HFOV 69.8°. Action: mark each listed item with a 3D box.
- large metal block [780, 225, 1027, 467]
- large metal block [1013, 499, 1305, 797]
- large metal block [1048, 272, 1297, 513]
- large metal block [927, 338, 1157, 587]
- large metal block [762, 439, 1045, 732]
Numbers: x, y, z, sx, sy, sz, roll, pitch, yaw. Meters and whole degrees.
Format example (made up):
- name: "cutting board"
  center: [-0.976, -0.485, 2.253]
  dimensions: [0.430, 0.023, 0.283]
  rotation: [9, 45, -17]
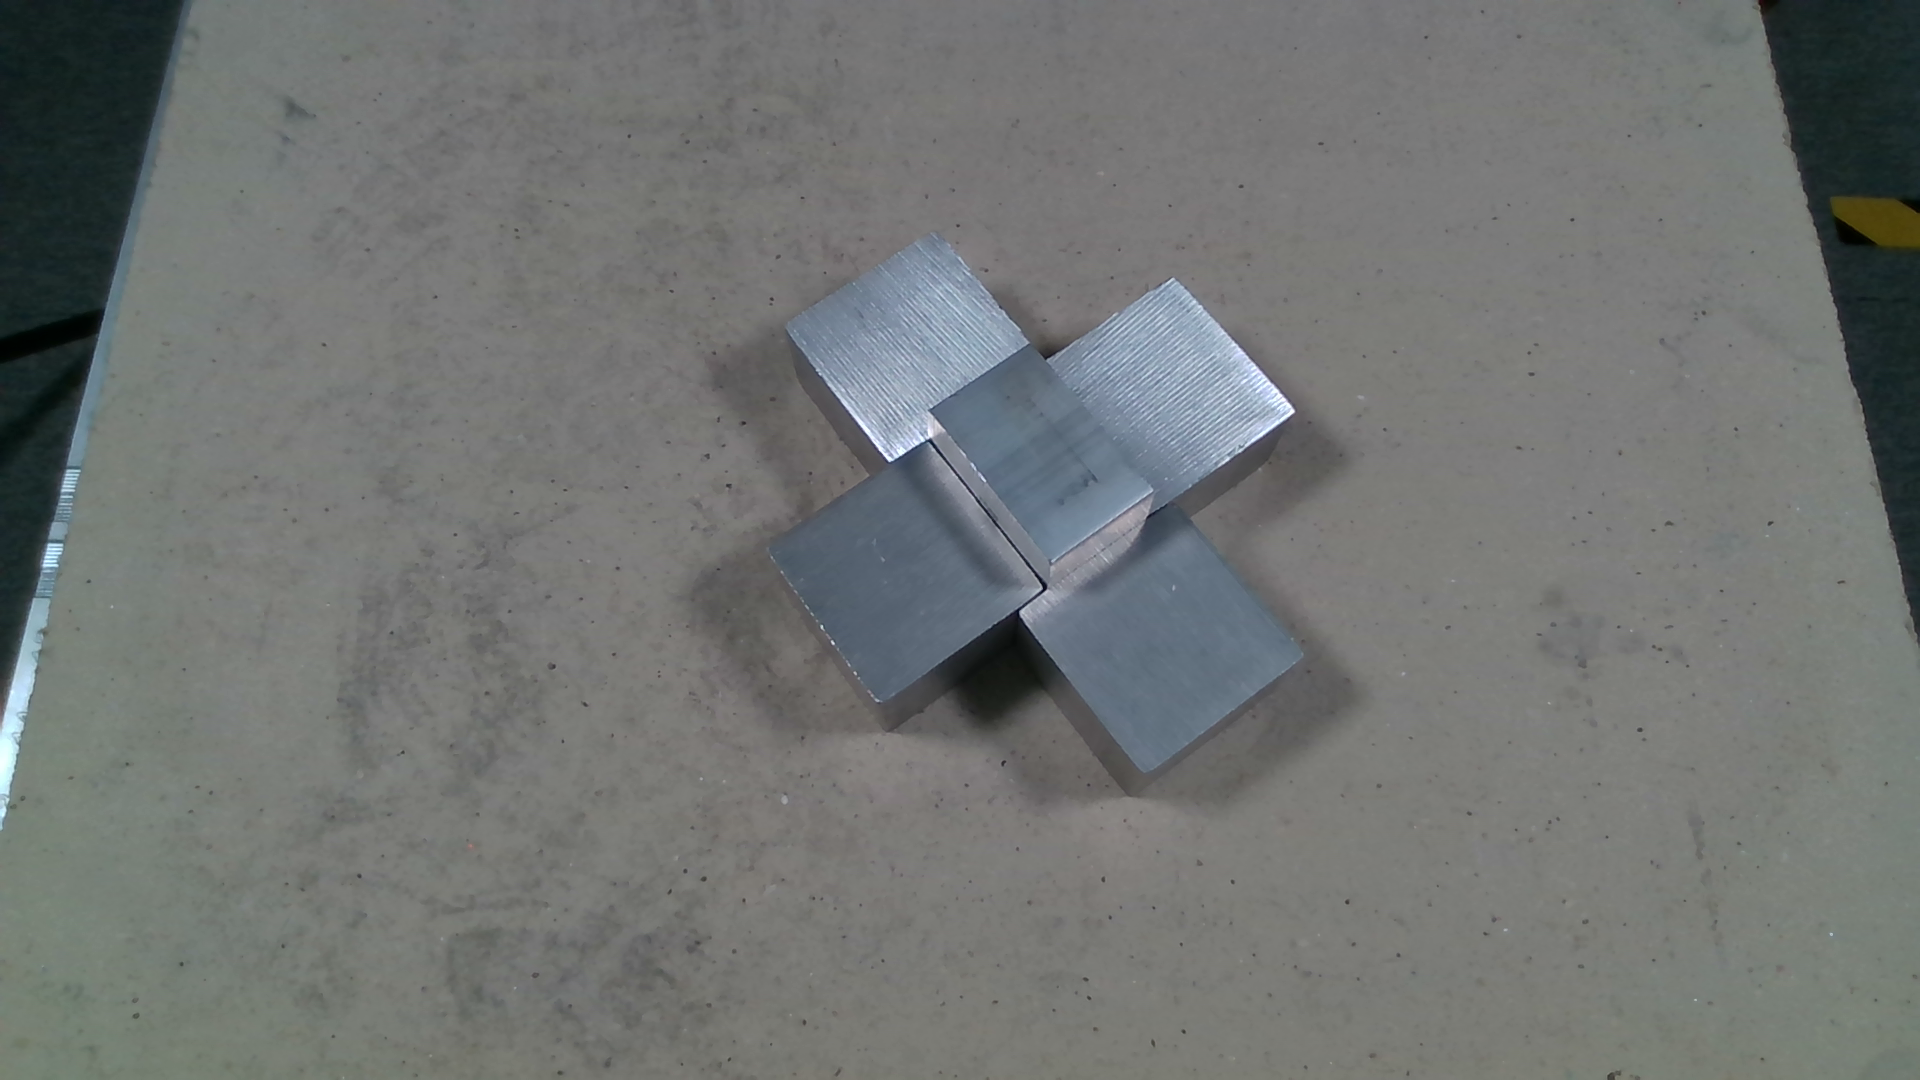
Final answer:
- name: "large metal block"
  center: [-0.020, -0.076, 0.601]
  dimensions: [0.080, 0.050, 0.080]
  rotation: [-35, 74, -12]
- name: "large metal block"
  center: [0.077, 0.044, 0.558]
  dimensions: [0.080, 0.050, 0.080]
  rotation: [-35, 74, -12]
- name: "large metal block"
  center: [0.083, -0.053, 0.593]
  dimensions: [0.080, 0.050, 0.080]
  rotation: [-35, 74, -12]
- name: "large metal block"
  center: [0.031, -0.022, 0.567]
  dimensions: [0.050, 0.080, 0.080]
  rotation: [-35, 74, -12]
- name: "large metal block"
  center: [-0.023, 0.020, 0.567]
  dimensions: [0.080, 0.050, 0.080]
  rotation: [-35, 74, -12]
